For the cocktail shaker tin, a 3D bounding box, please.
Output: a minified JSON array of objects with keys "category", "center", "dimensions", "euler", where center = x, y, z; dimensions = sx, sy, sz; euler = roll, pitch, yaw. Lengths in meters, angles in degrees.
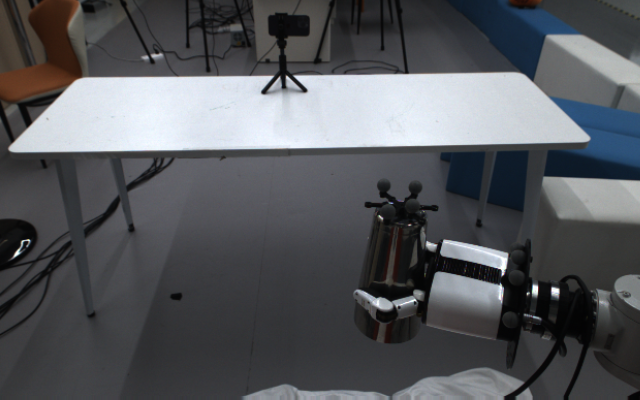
[{"category":"cocktail shaker tin","center":[0.098,0.089,0.630],"dimensions":[0.093,0.170,0.093],"euler":[2,28,-1]}]
